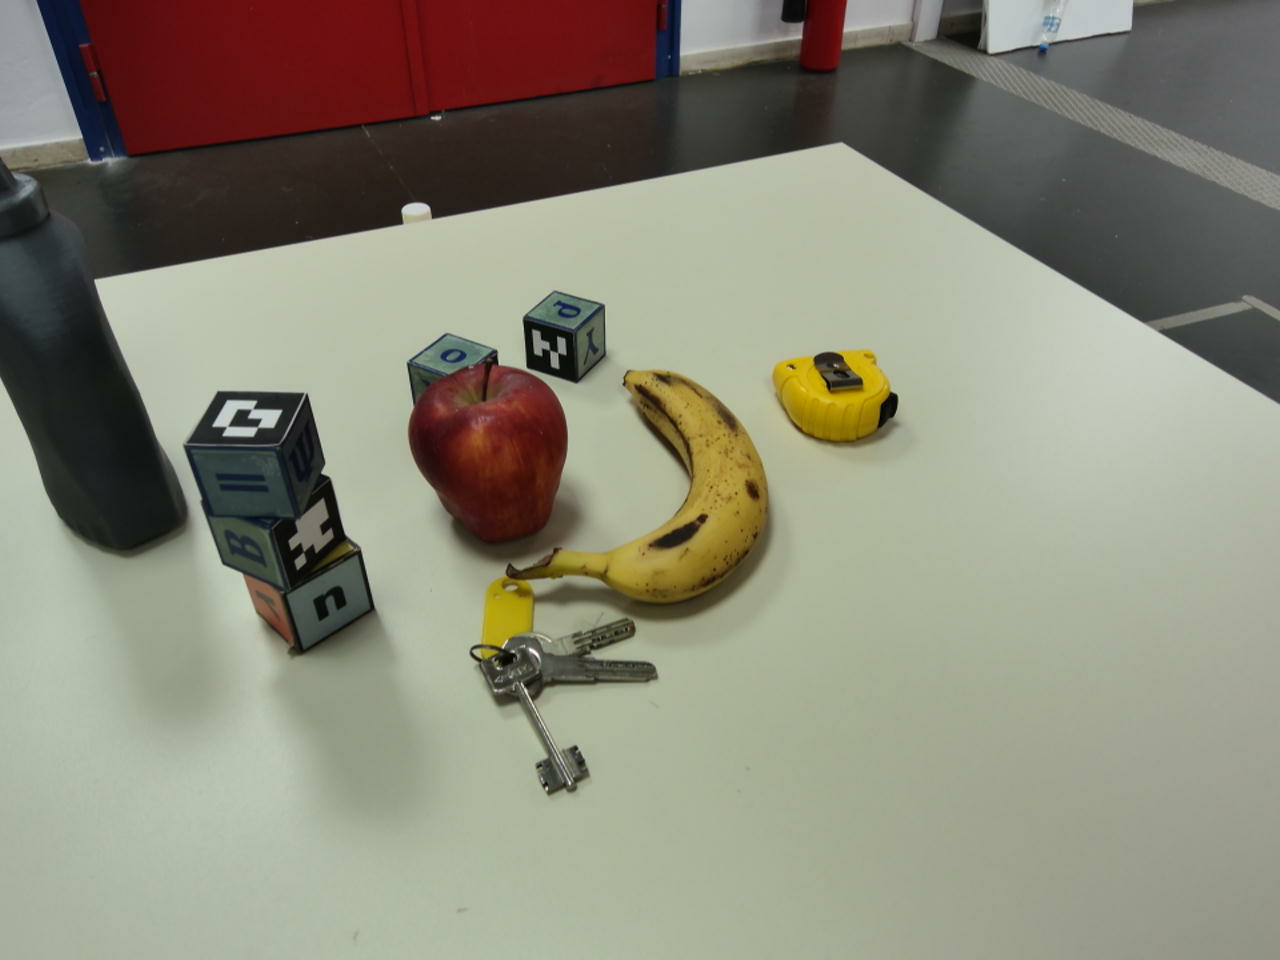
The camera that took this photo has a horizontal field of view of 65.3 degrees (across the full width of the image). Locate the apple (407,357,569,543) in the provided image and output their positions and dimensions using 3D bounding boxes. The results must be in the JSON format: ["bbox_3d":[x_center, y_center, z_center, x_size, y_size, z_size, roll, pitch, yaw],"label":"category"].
[{"bbox_3d":[-0.074,-0.018,0.493,0.083,0.090,0.083,0,38,0],"label":"apple"}]
